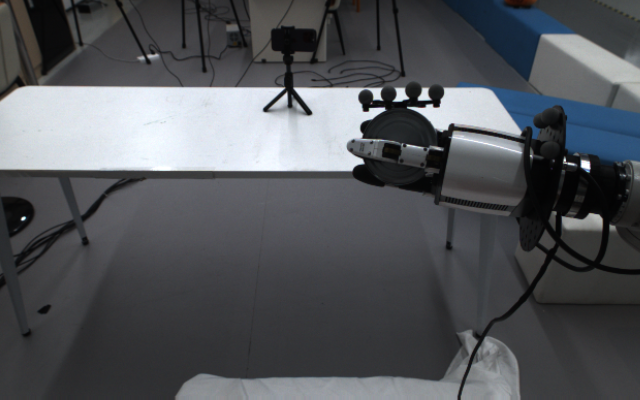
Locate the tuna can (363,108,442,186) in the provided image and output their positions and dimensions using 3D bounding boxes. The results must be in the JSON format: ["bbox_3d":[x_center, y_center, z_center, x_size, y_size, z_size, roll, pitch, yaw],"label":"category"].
[{"bbox_3d":[0.093,-0.062,0.556,0.085,0.085,0.034,15,10,18],"label":"tuna can"}]
